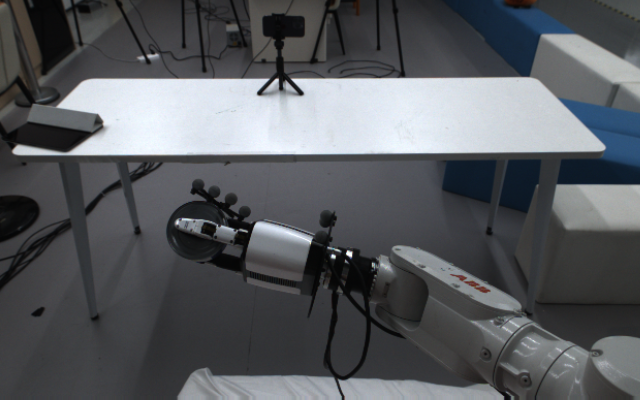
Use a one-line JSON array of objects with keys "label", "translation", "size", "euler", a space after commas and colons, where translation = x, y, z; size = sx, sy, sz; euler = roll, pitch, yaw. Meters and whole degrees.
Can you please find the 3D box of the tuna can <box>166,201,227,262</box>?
[{"label": "tuna can", "translation": [-0.173, 0.047, 0.694], "size": [0.085, 0.034, 0.085], "euler": [1, 75, -5]}]
